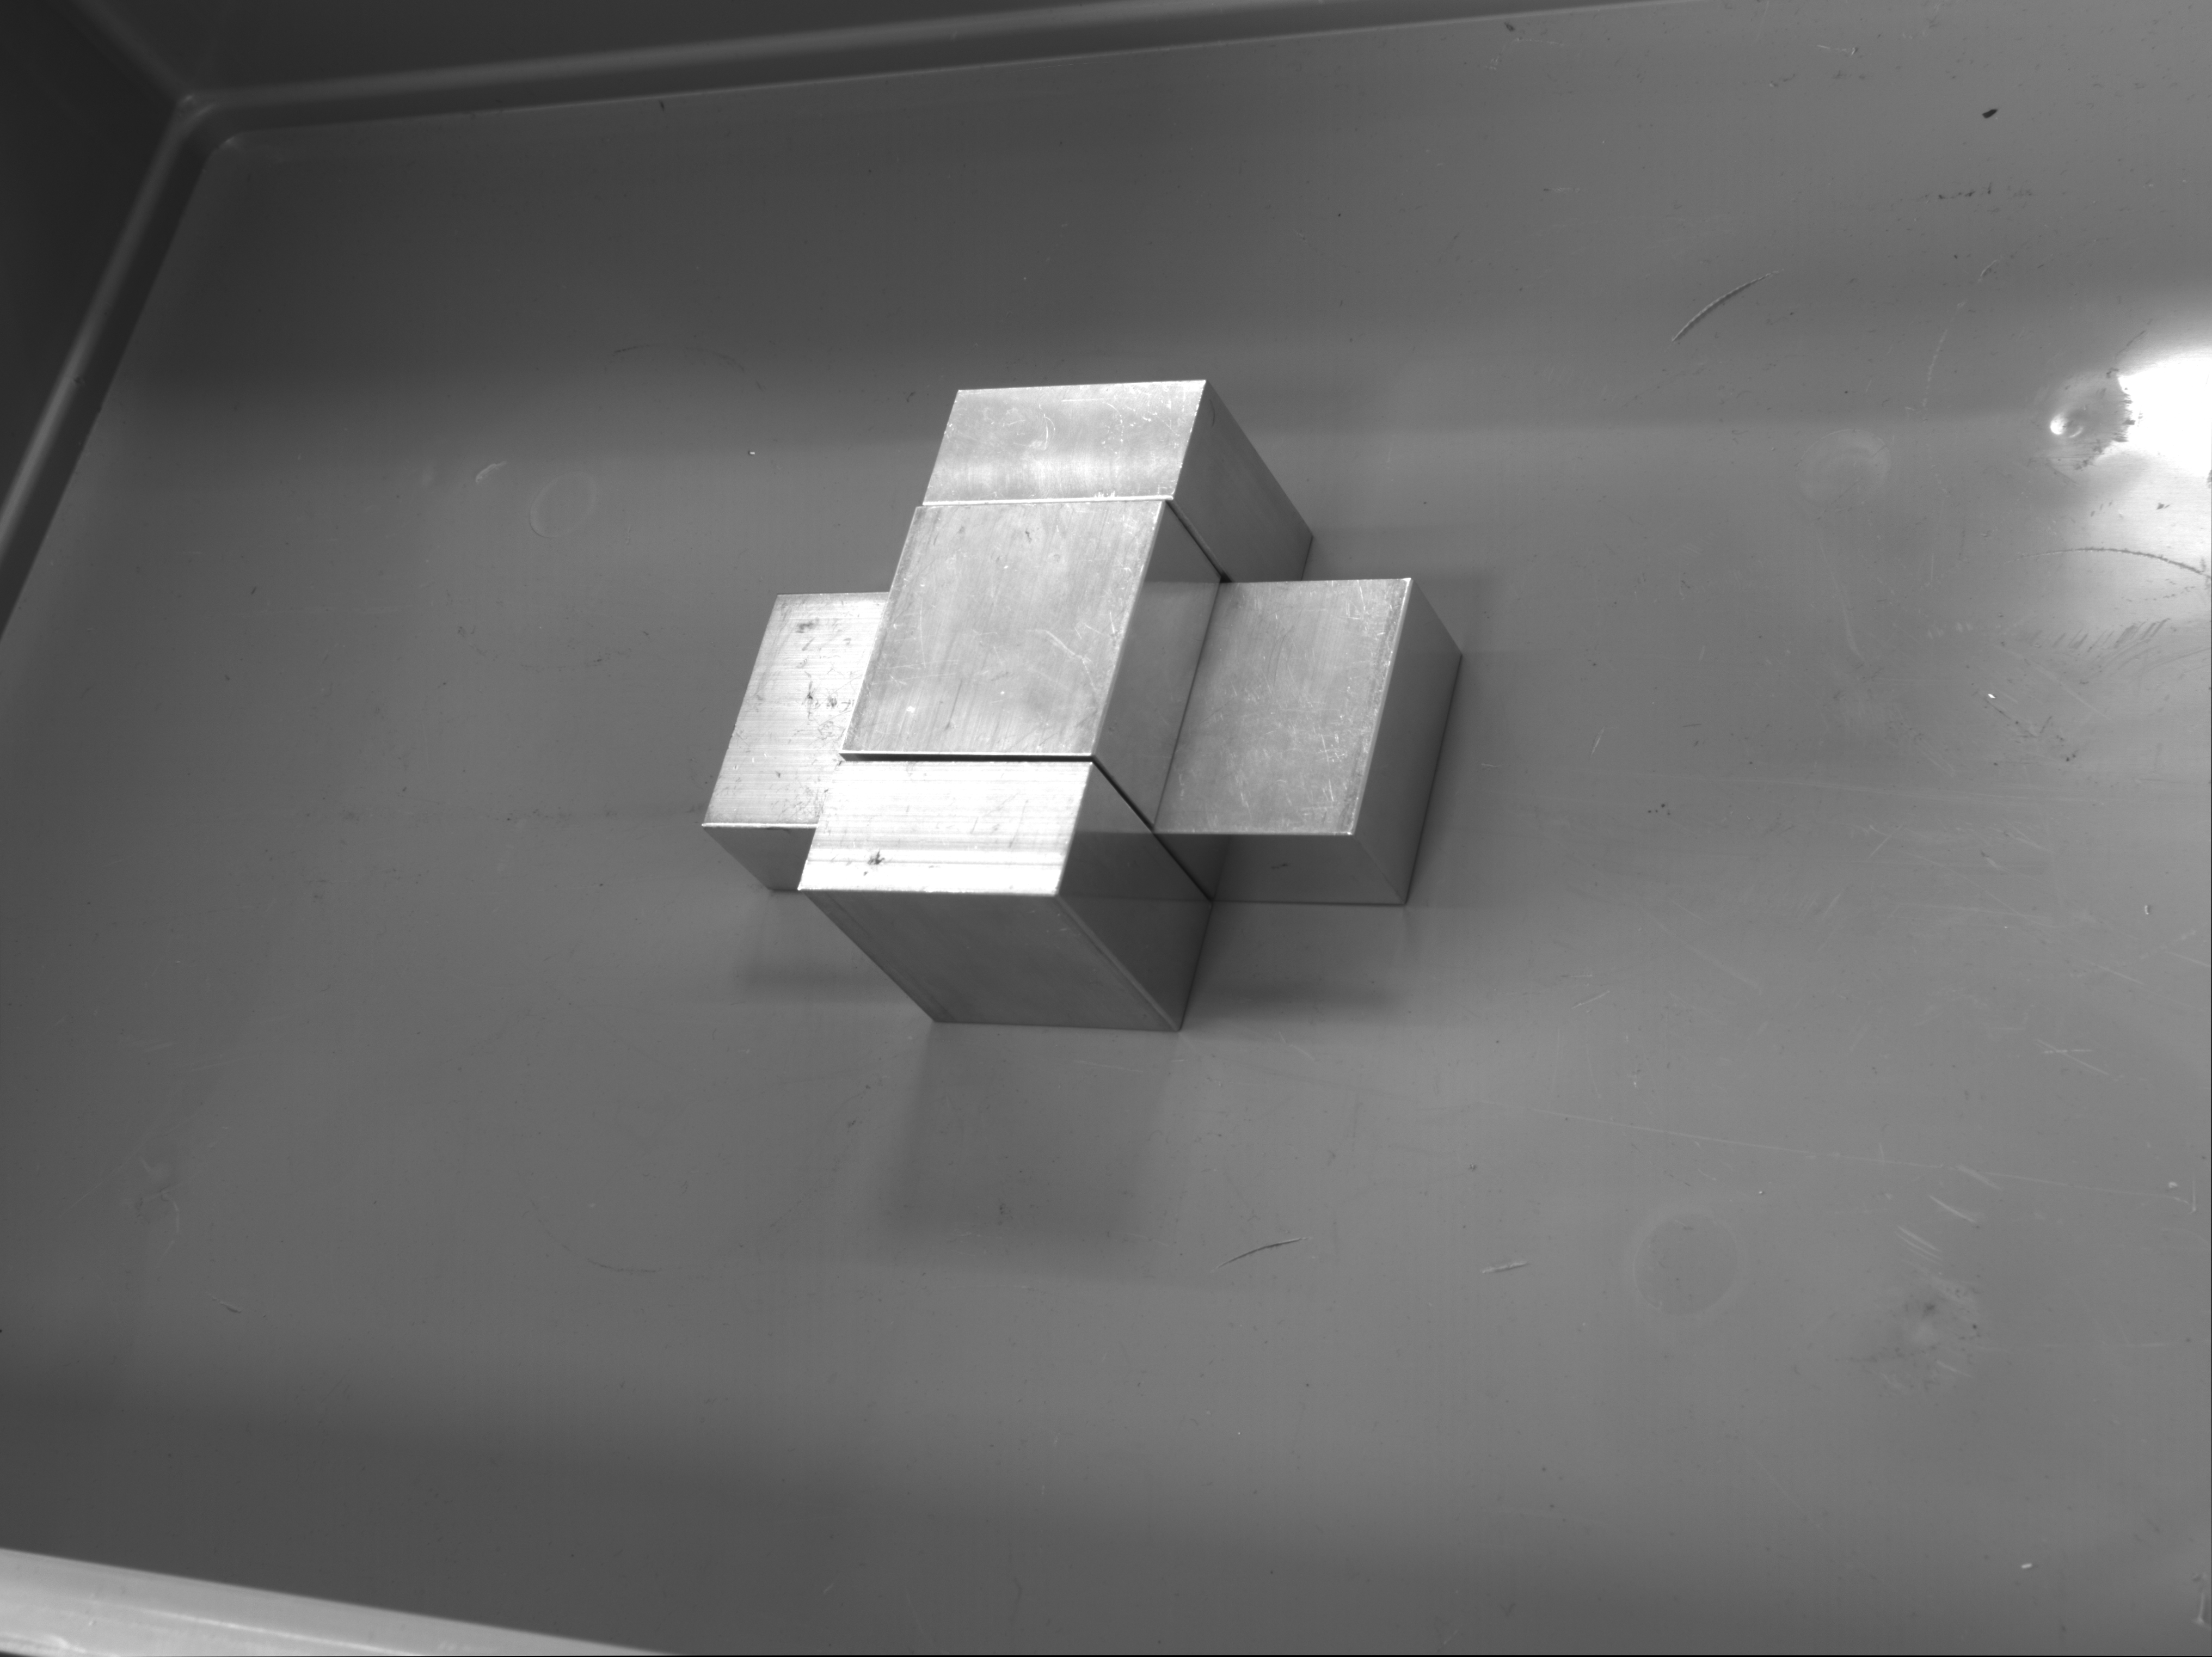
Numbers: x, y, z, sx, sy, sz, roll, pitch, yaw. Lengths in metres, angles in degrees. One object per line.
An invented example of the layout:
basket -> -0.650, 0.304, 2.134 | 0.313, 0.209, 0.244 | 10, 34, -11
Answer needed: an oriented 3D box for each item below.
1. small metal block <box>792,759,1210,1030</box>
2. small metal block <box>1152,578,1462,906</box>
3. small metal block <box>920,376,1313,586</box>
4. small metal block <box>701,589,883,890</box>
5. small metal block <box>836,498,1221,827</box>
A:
small metal block -> -0.017, 0.011, 0.627 | 0.050, 0.050, 0.025 | 1, 62, 29
small metal block -> 0.029, -0.015, 0.637 | 0.050, 0.025, 0.050 | 1, 62, 29
small metal block -> 0.003, -0.055, 0.659 | 0.050, 0.050, 0.025 | 1, 62, 29
small metal block -> -0.040, -0.016, 0.674 | 0.050, 0.025, 0.050 | 1, 62, 29
small metal block -> -0.013, -0.028, 0.634 | 0.050, 0.025, 0.050 | 1, 62, 29
